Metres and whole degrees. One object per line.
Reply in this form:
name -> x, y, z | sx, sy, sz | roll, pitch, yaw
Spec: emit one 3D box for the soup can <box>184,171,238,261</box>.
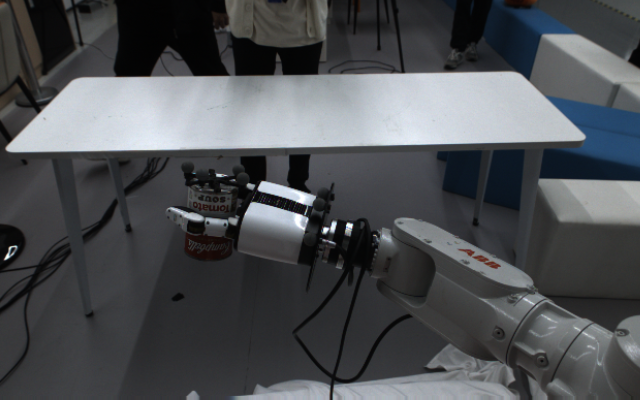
soup can -> -0.151, 0.026, 0.669 | 0.067, 0.101, 0.067 | 8, 19, -3
